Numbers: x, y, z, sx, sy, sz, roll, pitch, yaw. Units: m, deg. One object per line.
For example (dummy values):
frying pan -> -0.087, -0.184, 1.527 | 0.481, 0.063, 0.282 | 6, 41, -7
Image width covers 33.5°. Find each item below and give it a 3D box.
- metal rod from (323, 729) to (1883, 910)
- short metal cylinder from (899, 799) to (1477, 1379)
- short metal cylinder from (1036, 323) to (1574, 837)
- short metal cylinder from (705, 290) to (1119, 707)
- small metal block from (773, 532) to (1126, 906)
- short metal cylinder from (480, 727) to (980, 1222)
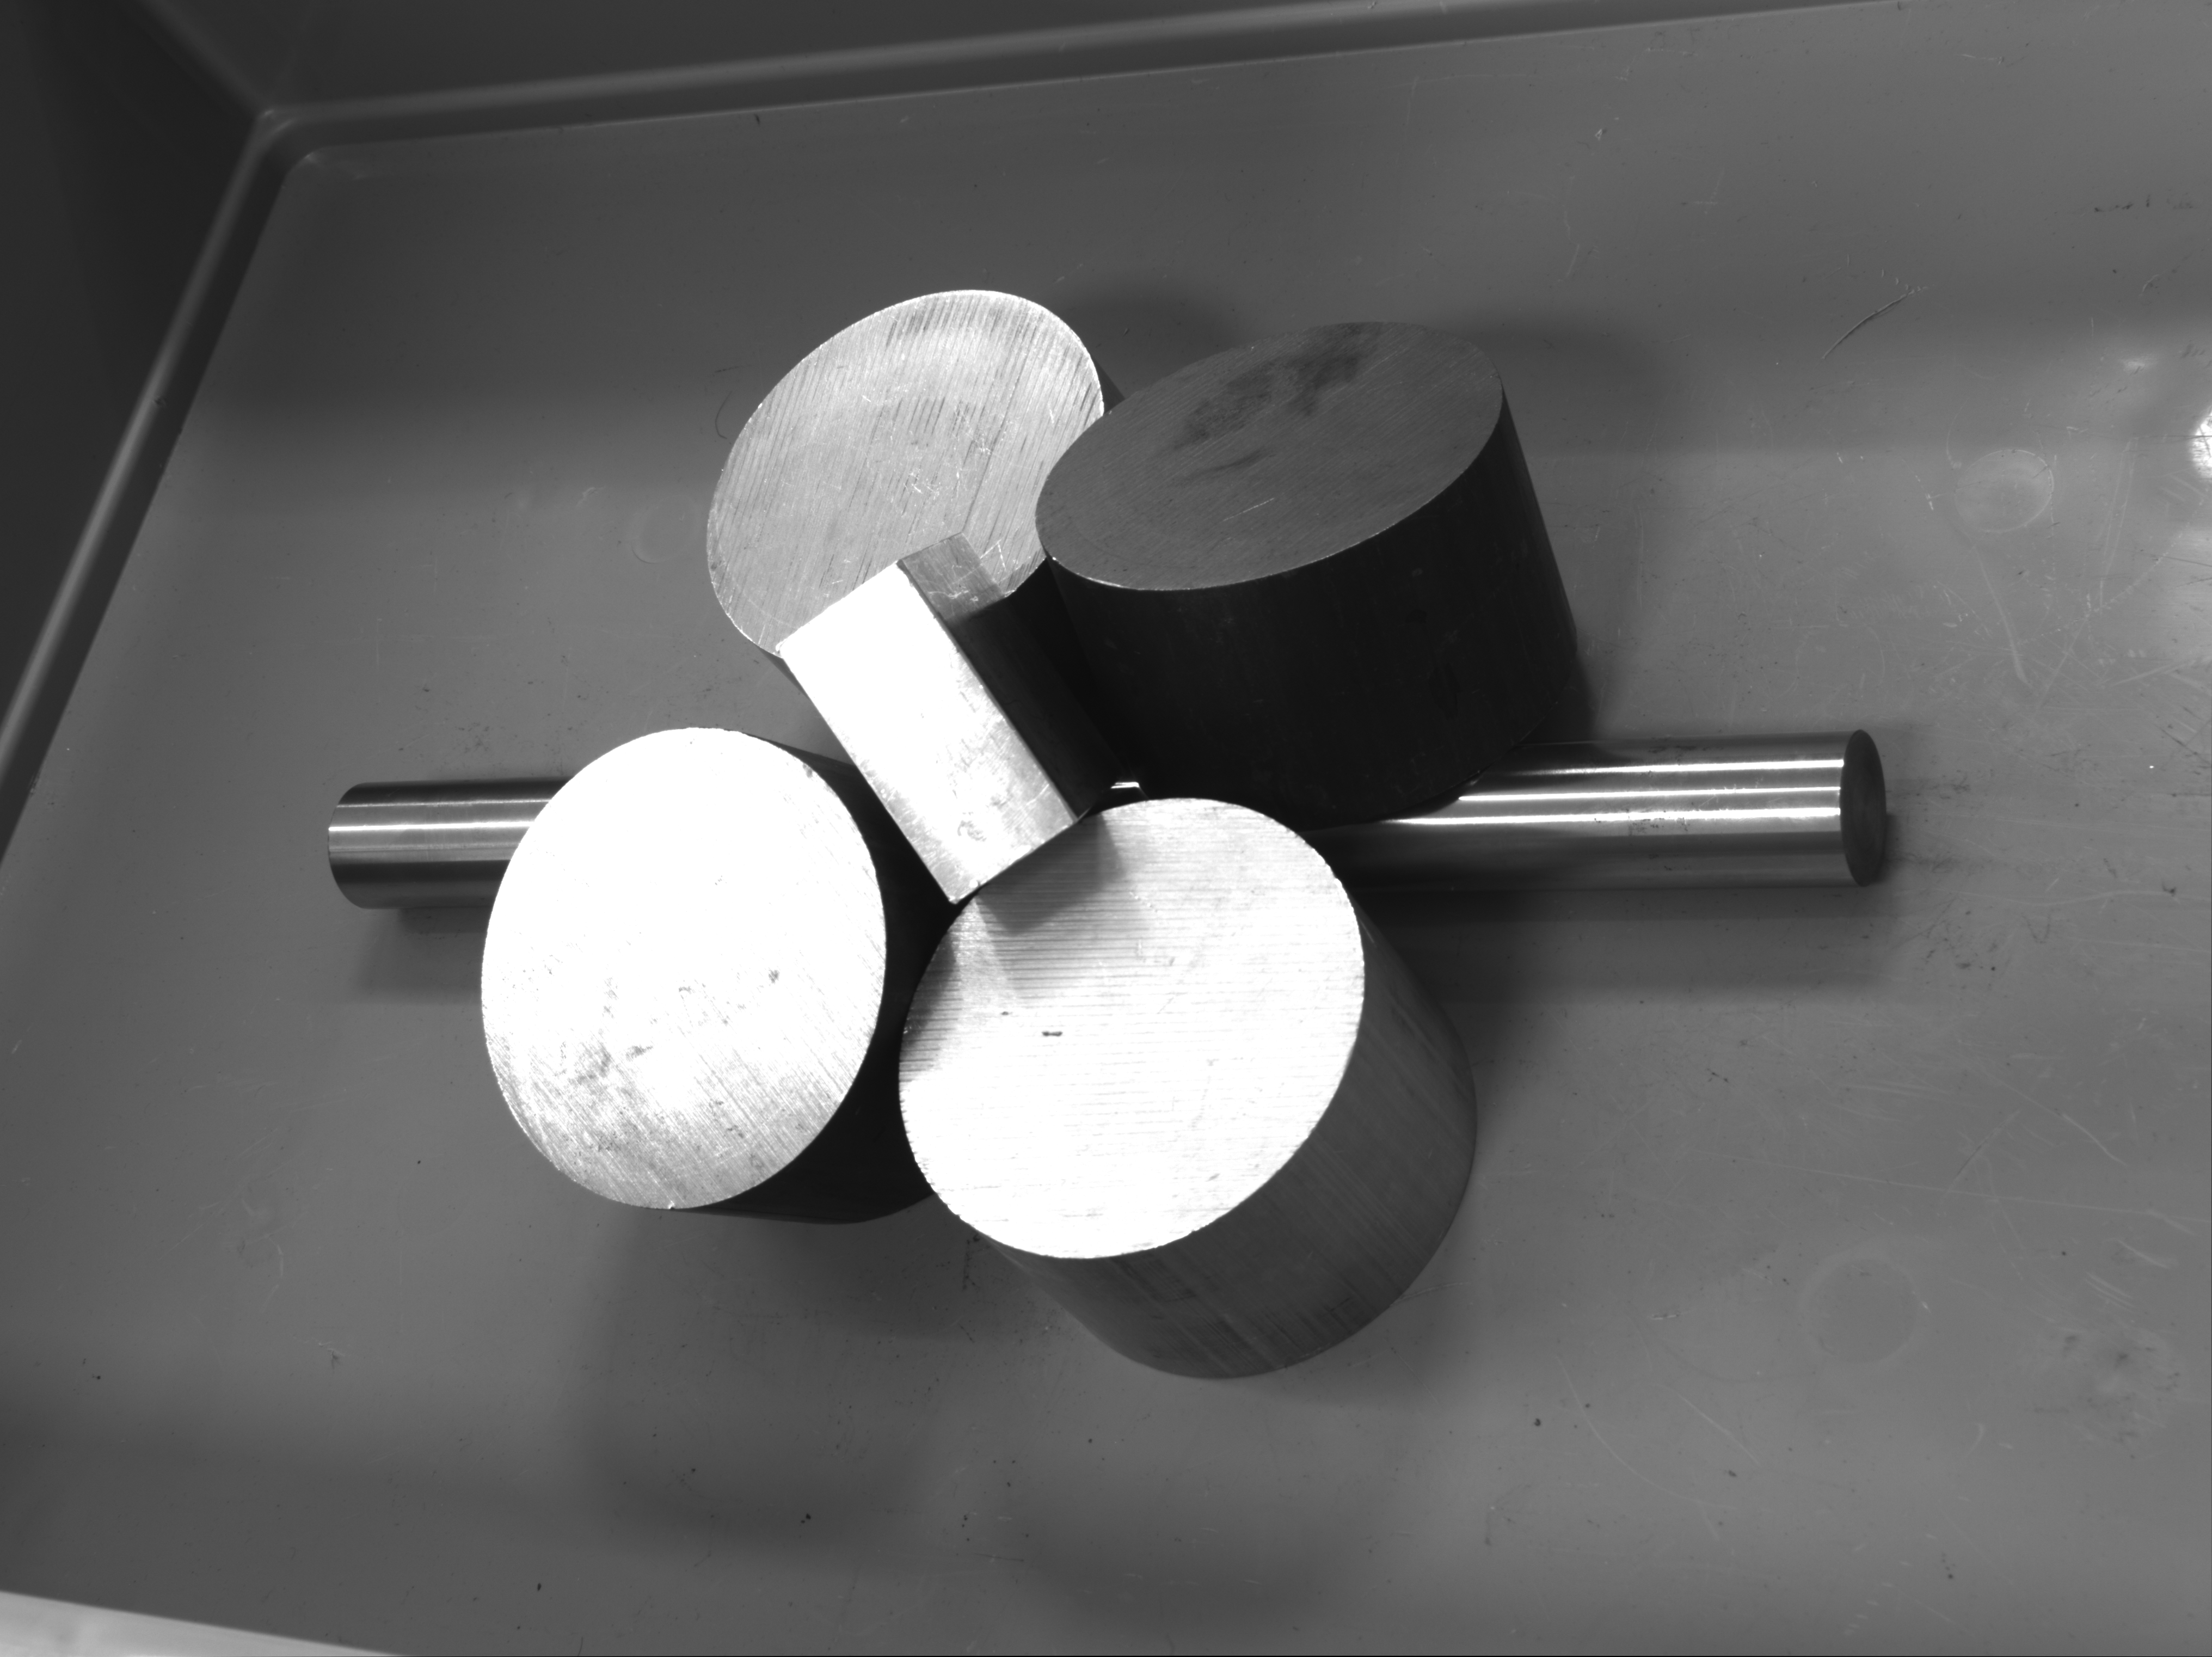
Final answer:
metal rod -> -0.013, 0.000, 0.650 | 0.299, 0.025, 0.025 | -1, 61, 28
short metal cylinder -> 0.014, 0.042, 0.594 | 0.080, 0.050, 0.080 | -14, 56, 21
short metal cylinder -> 0.034, -0.043, 0.619 | 0.080, 0.050, 0.080 | -15, 33, 10
short metal cylinder -> -0.026, -0.051, 0.673 | 0.080, 0.050, 0.080 | -14, 56, 21
small metal block -> -0.024, -0.019, 0.607 | 0.025, 0.050, 0.050 | -34, 93, 13
short metal cylinder -> -0.059, 0.026, 0.628 | 0.080, 0.050, 0.080 | -5, 79, 27
